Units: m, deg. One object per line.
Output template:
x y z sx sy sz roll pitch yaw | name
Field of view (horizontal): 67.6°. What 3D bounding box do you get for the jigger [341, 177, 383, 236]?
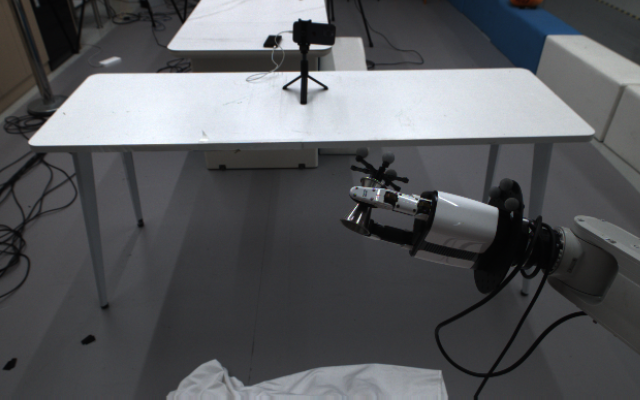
0.060 0.005 0.659 0.043 0.043 0.071 20 72 23 | jigger
